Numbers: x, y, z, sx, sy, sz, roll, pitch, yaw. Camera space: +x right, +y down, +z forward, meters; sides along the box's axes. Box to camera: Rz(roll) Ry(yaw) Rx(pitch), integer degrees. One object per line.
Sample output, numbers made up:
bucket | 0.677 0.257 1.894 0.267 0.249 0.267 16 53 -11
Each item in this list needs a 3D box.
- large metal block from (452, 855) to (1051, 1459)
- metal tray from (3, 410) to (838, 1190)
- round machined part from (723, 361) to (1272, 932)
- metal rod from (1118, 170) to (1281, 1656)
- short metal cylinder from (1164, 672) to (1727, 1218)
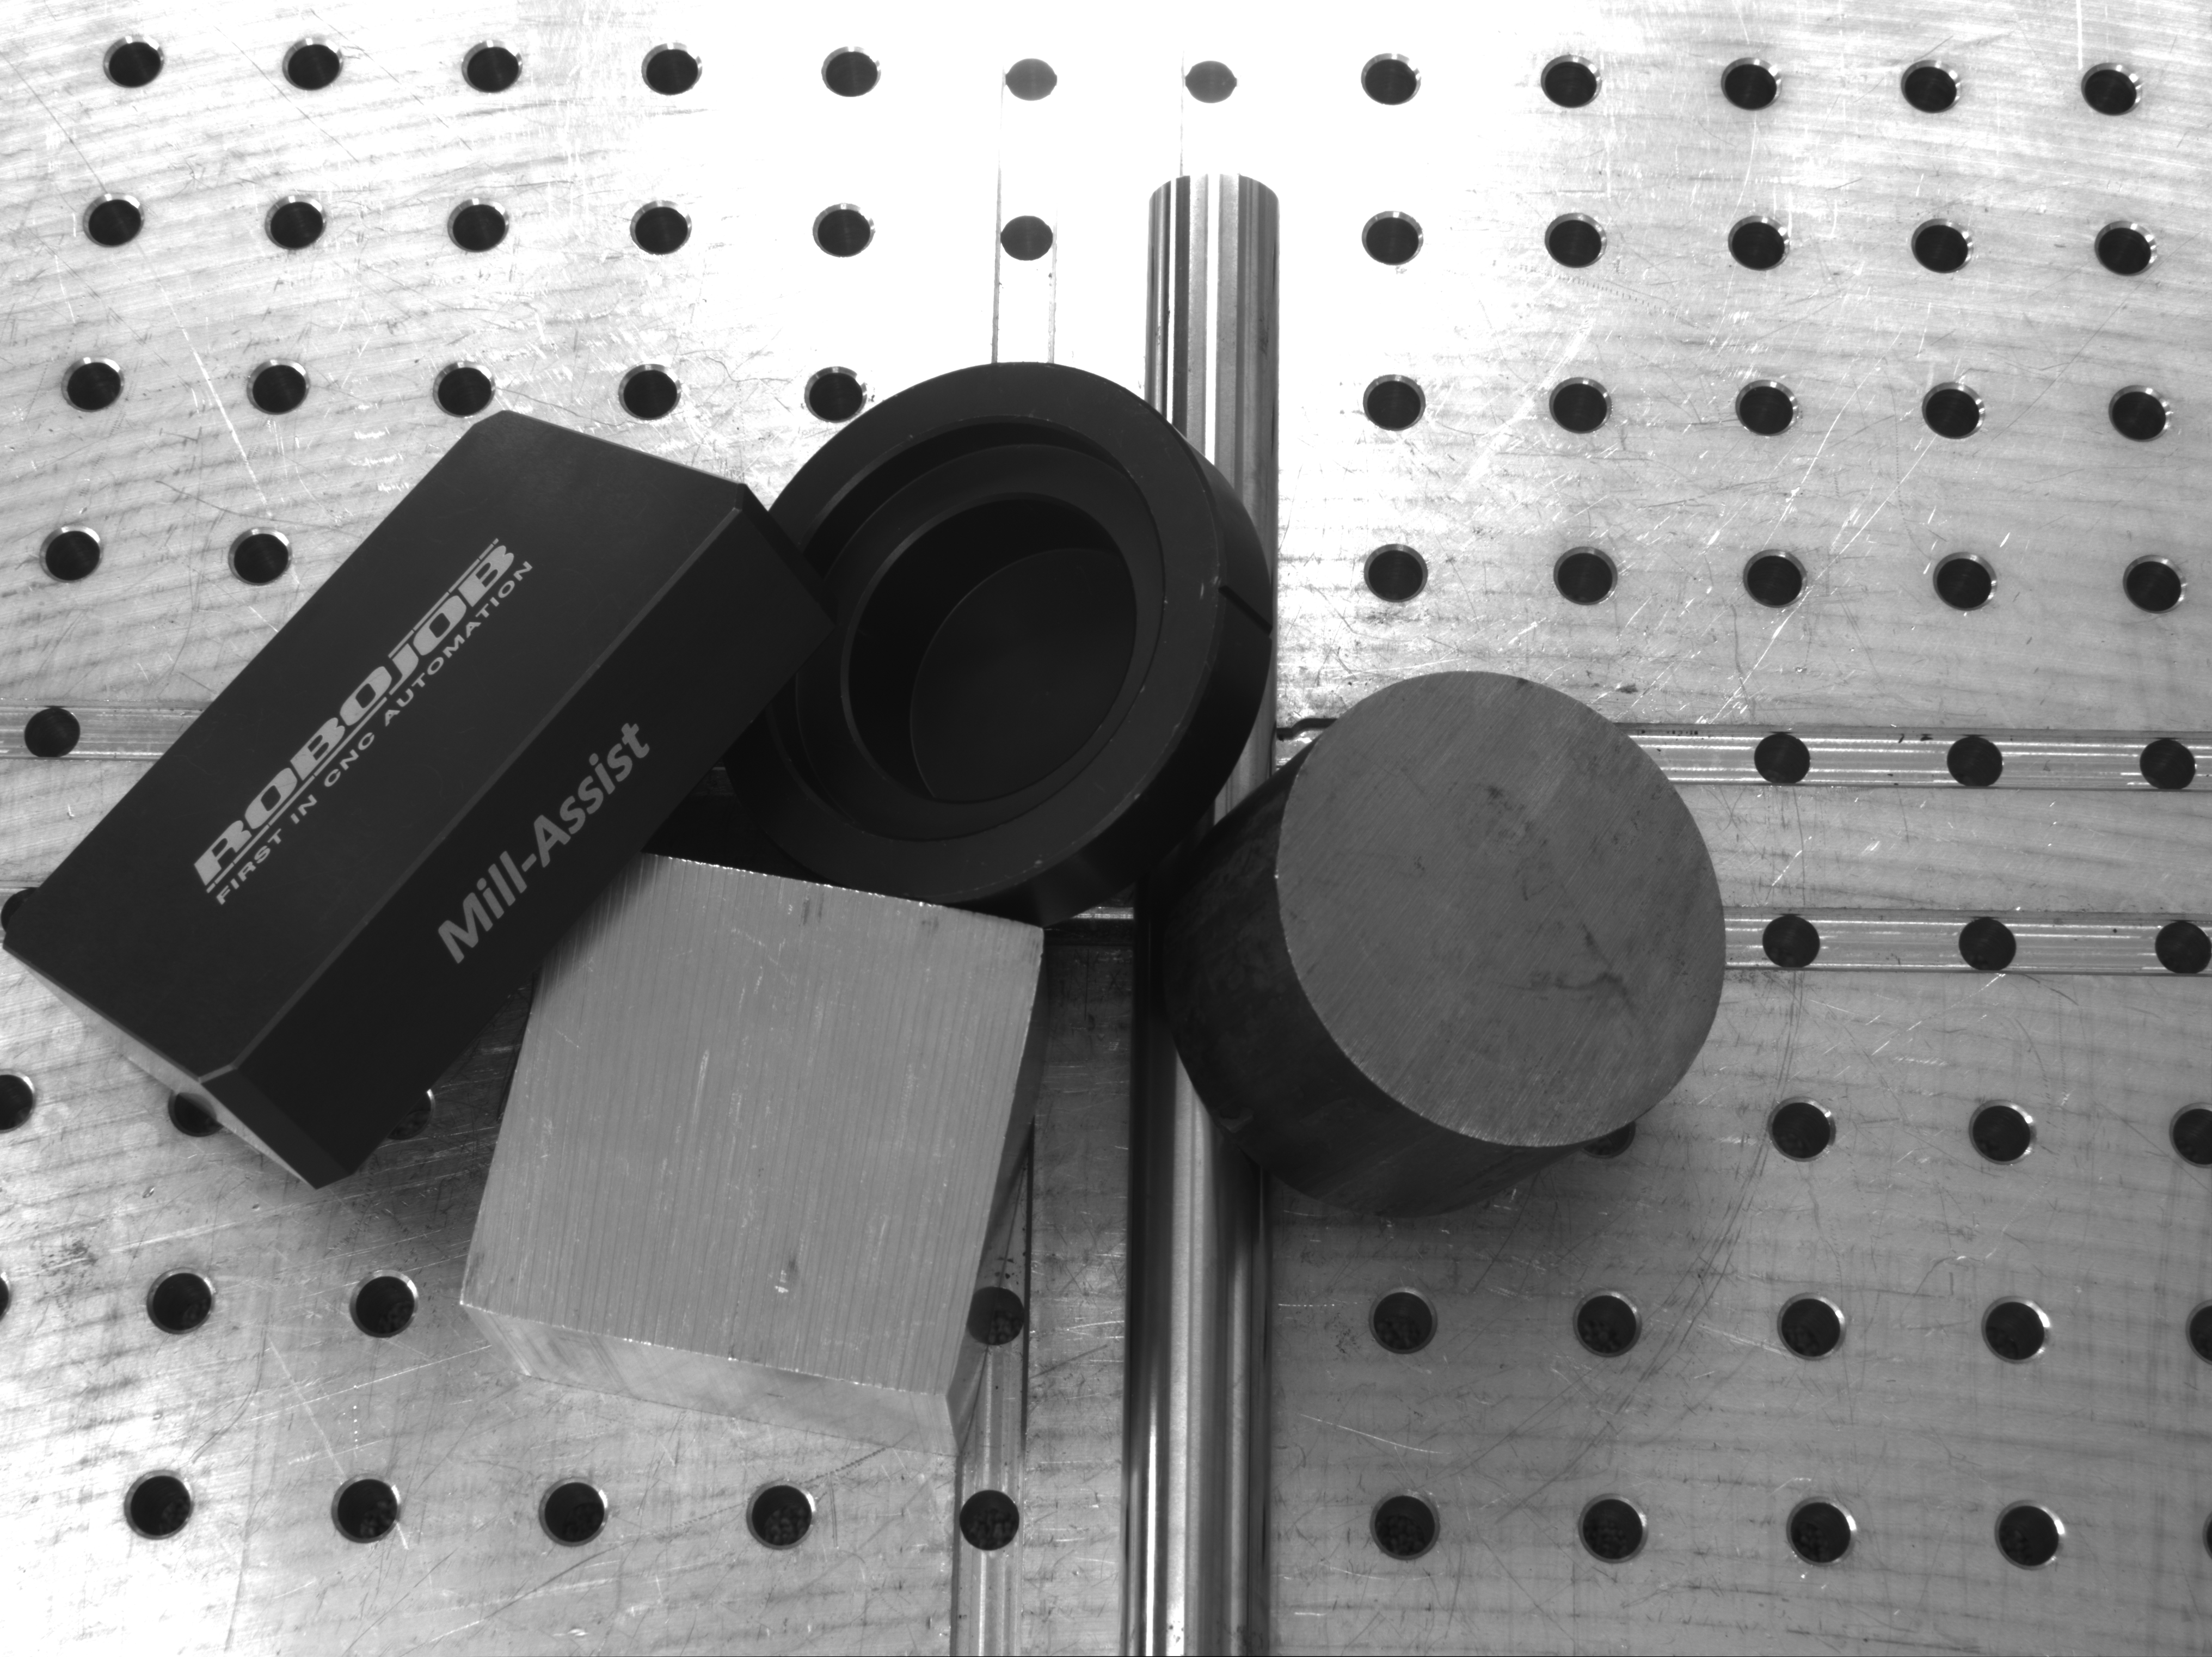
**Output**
large metal block | -0.056 0.054 0.615 0.080 0.050 0.080 10 70 4
metal tray | -0.117 -0.009 0.622 0.130 0.030 0.090 -50 39 -16
round machined part | -0.016 -0.028 0.636 0.098 0.042 0.098 -10 67 24
metal rod | 0.017 0.023 0.640 0.025 0.025 0.300 1 70 1
short metal cylinder | 0.056 0.020 0.613 0.080 0.050 0.080 7 69 -19
